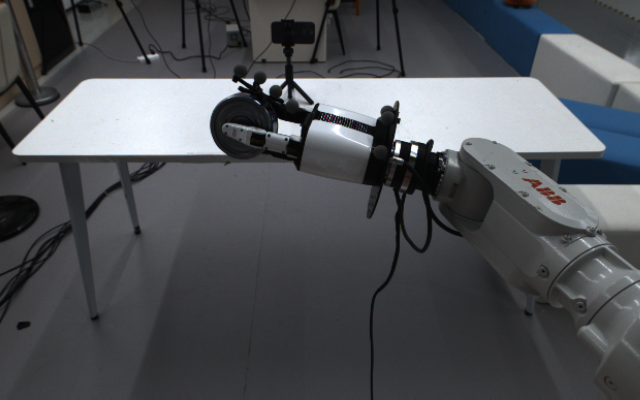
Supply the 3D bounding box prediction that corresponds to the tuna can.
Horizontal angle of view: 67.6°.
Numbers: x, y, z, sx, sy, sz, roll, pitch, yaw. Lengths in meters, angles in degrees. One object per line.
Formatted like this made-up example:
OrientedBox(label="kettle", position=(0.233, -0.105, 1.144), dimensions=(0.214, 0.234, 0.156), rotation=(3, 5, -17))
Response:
OrientedBox(label="tuna can", position=(-0.097, -0.092, 0.638), dimensions=(0.085, 0.085, 0.034), rotation=(6, 19, 6))
